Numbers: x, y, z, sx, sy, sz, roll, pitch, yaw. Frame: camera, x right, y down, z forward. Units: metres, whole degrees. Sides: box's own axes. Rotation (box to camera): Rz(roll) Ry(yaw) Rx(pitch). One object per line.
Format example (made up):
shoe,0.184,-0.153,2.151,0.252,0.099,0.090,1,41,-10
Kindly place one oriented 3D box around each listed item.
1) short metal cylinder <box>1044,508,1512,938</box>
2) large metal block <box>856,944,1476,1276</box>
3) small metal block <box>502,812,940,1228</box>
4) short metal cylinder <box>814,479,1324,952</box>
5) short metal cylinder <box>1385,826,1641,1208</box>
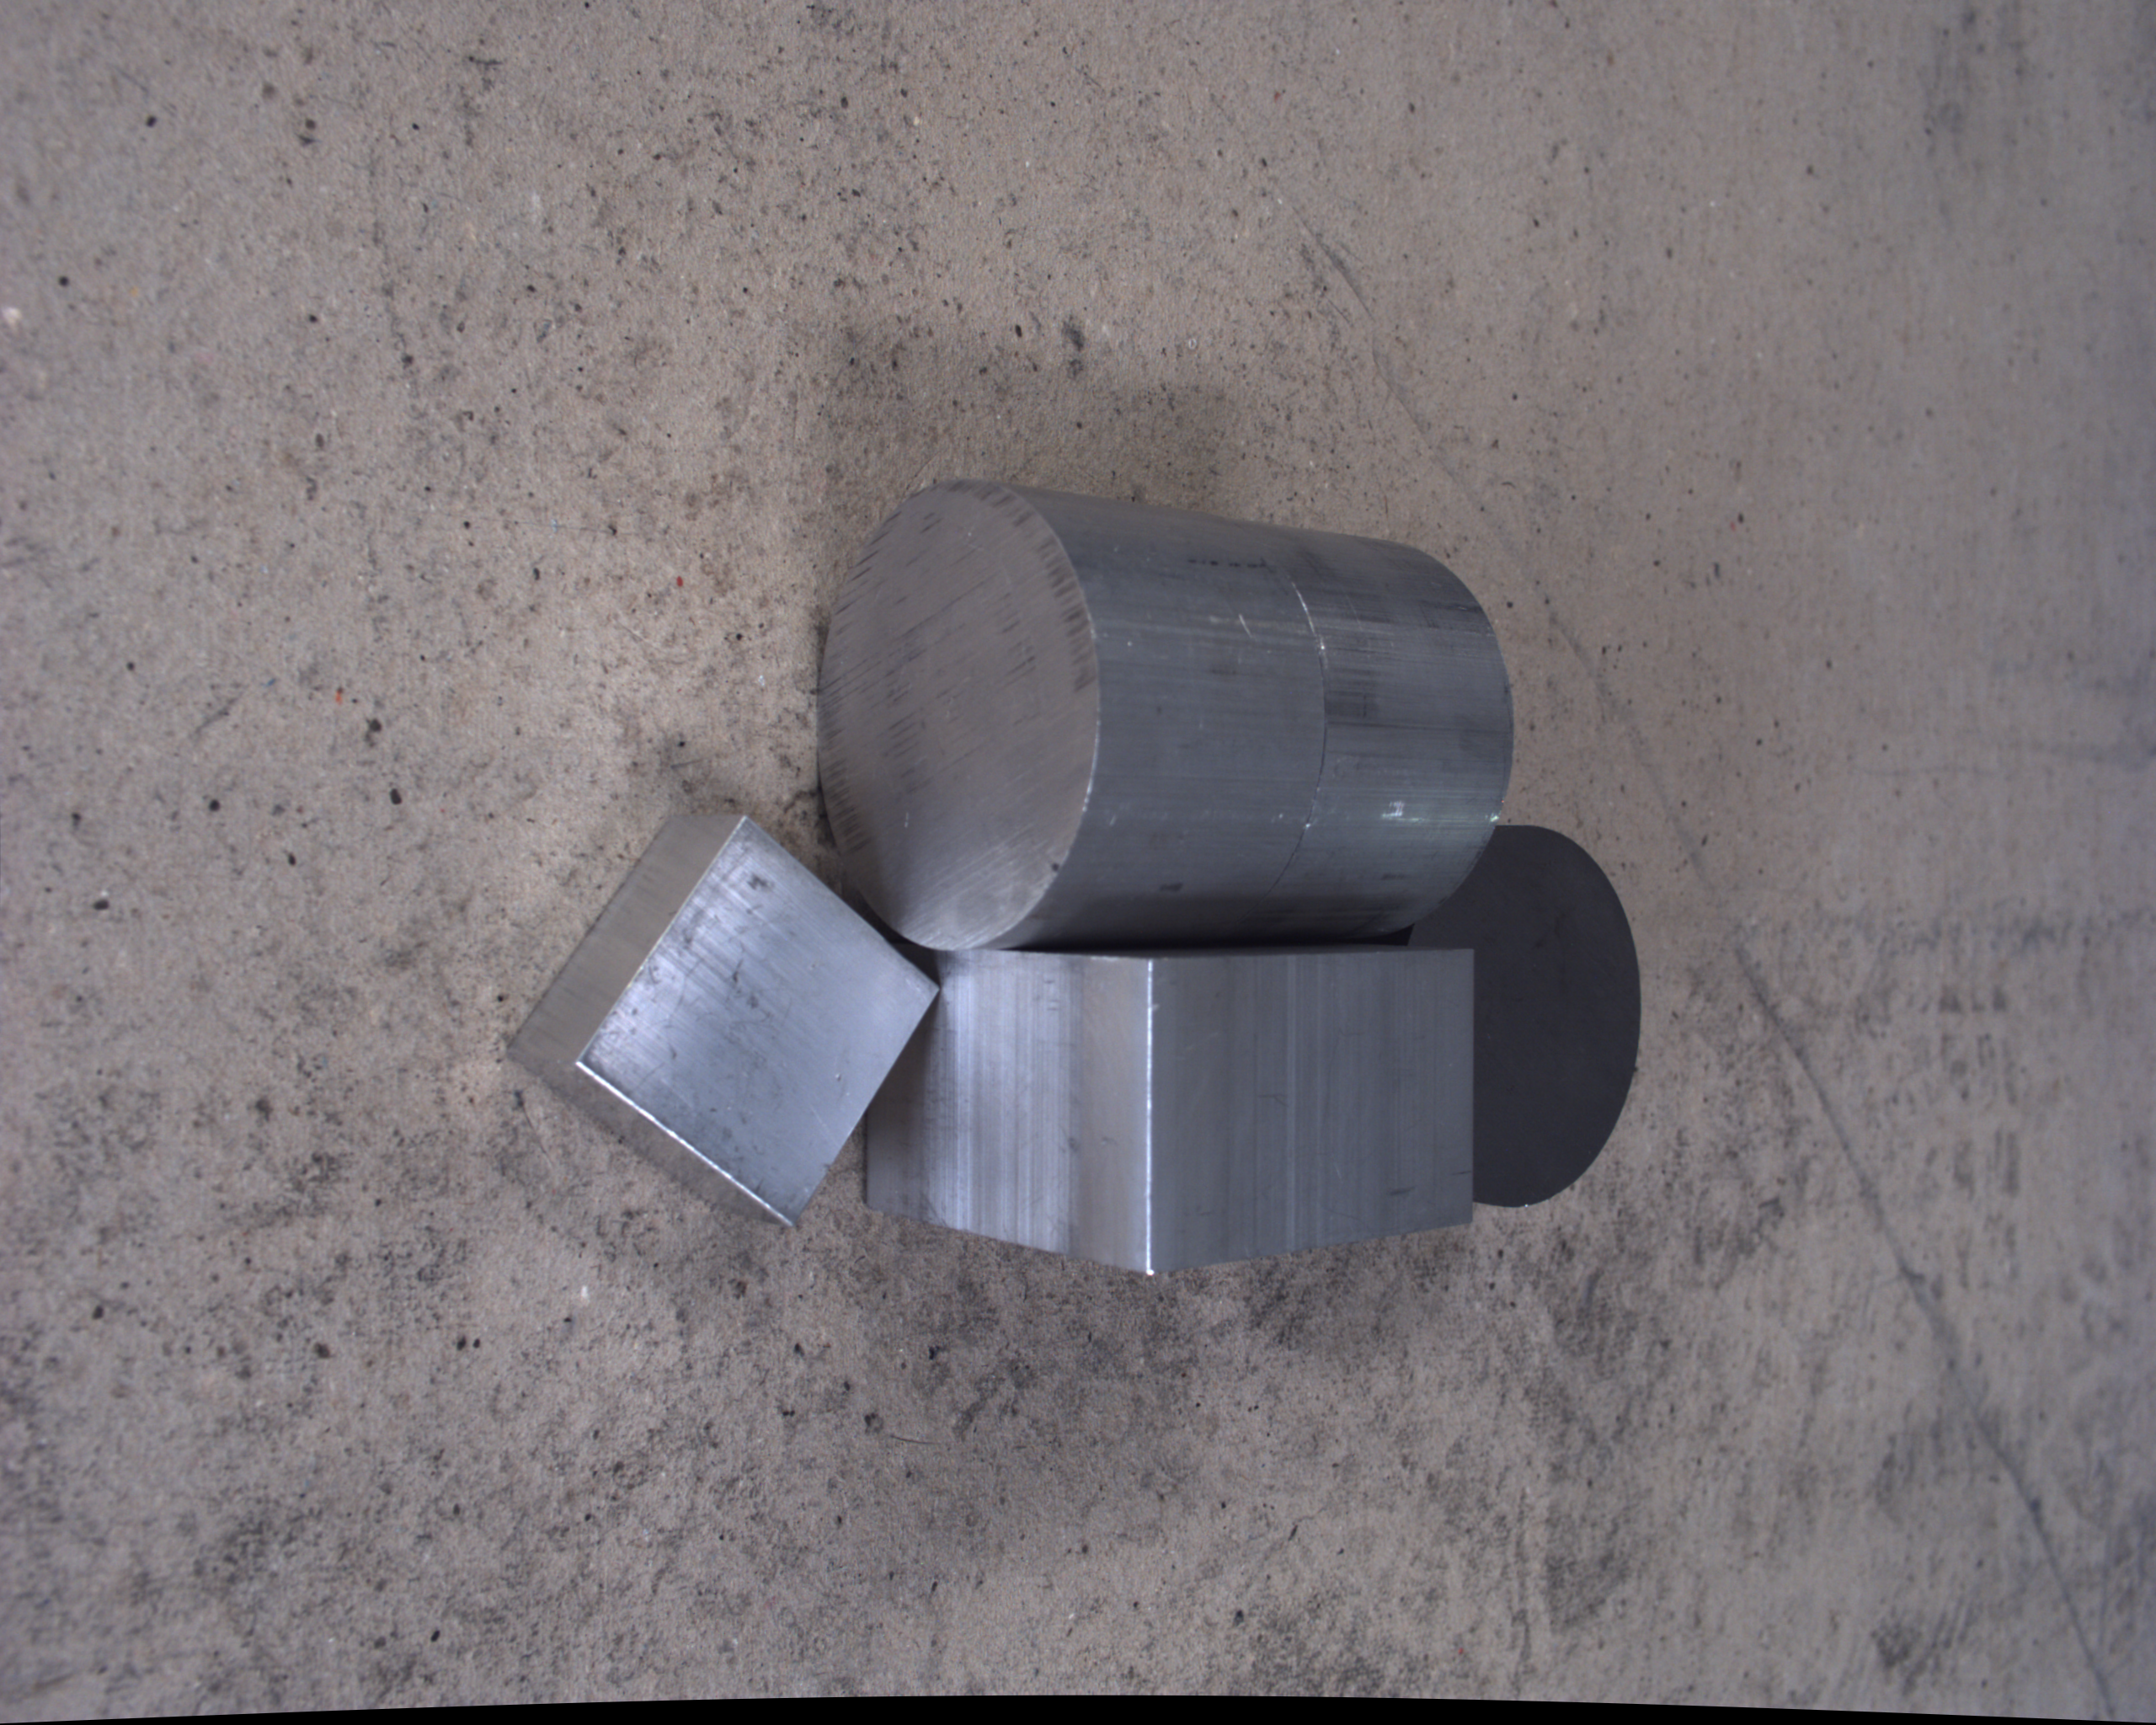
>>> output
short metal cylinder,0.035,-0.025,0.401,0.050,0.080,0.080,1,90,-40
large metal block,0.016,0.040,0.385,0.081,0.080,0.050,1,90,-40
small metal block,-0.060,0.026,0.357,0.050,0.025,0.050,45,63,-31
short metal cylinder,-0.003,-0.024,0.368,0.050,0.080,0.080,1,90,-40
short metal cylinder,0.078,0.032,0.455,0.081,0.050,0.079,0,90,-40
